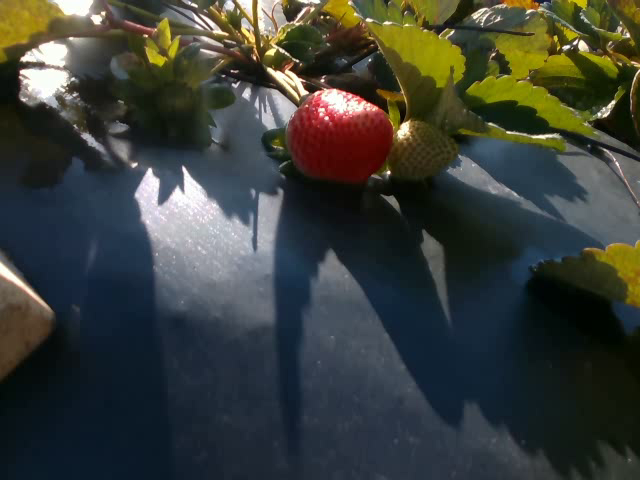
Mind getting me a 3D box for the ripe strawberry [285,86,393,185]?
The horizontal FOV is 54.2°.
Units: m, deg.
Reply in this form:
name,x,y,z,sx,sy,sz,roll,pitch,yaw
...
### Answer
name,x,y,z,sx,sy,sz,roll,pitch,yaw
ripe strawberry,0.009,-0.028,0.175,0.042,0.037,0.045,31,-21,-7
